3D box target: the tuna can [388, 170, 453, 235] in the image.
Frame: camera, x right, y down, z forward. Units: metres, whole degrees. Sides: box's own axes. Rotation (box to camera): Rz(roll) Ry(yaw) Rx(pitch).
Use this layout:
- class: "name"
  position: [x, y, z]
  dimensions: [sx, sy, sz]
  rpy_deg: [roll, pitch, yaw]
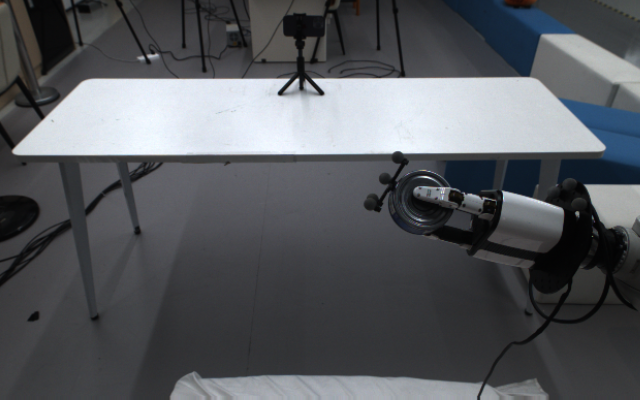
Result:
- class: "tuna can"
  position: [0.141, 0.001, 0.663]
  dimensions: [0.085, 0.034, 0.085]
  rpy_deg: [1, 75, -5]
